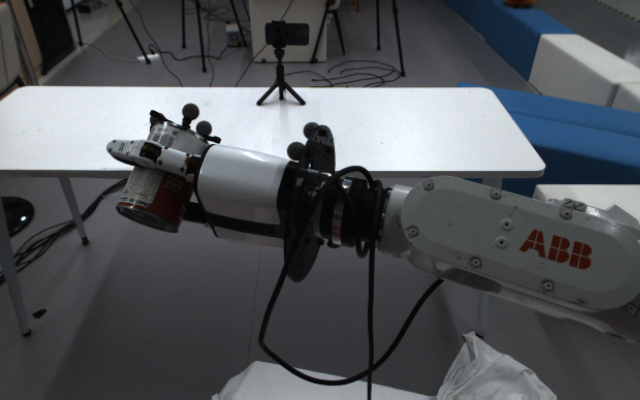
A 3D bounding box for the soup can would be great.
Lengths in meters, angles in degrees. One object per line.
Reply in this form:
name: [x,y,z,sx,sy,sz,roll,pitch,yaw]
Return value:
soup can: [-0.165,-0.023,0.521,0.067,0.067,0.101,12,71,13]
